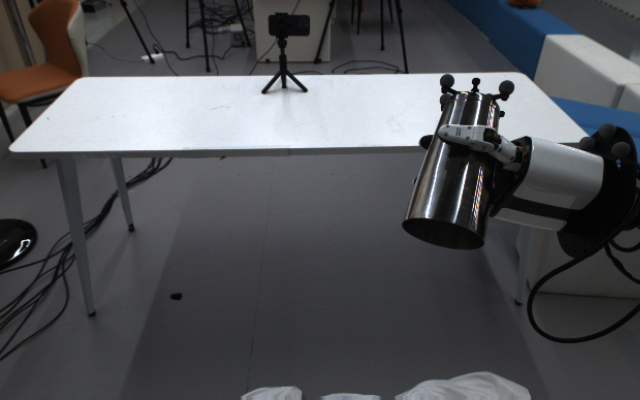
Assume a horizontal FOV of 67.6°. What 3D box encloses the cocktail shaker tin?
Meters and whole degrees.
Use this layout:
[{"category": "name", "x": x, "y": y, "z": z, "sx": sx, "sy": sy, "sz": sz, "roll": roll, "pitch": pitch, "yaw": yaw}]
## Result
[{"category": "cocktail shaker tin", "x": 0.162, "y": -0.038, "z": 0.565, "sx": 0.093, "sy": 0.093, "sz": 0.170, "roll": 13, "pitch": 70, "yaw": 15}]
